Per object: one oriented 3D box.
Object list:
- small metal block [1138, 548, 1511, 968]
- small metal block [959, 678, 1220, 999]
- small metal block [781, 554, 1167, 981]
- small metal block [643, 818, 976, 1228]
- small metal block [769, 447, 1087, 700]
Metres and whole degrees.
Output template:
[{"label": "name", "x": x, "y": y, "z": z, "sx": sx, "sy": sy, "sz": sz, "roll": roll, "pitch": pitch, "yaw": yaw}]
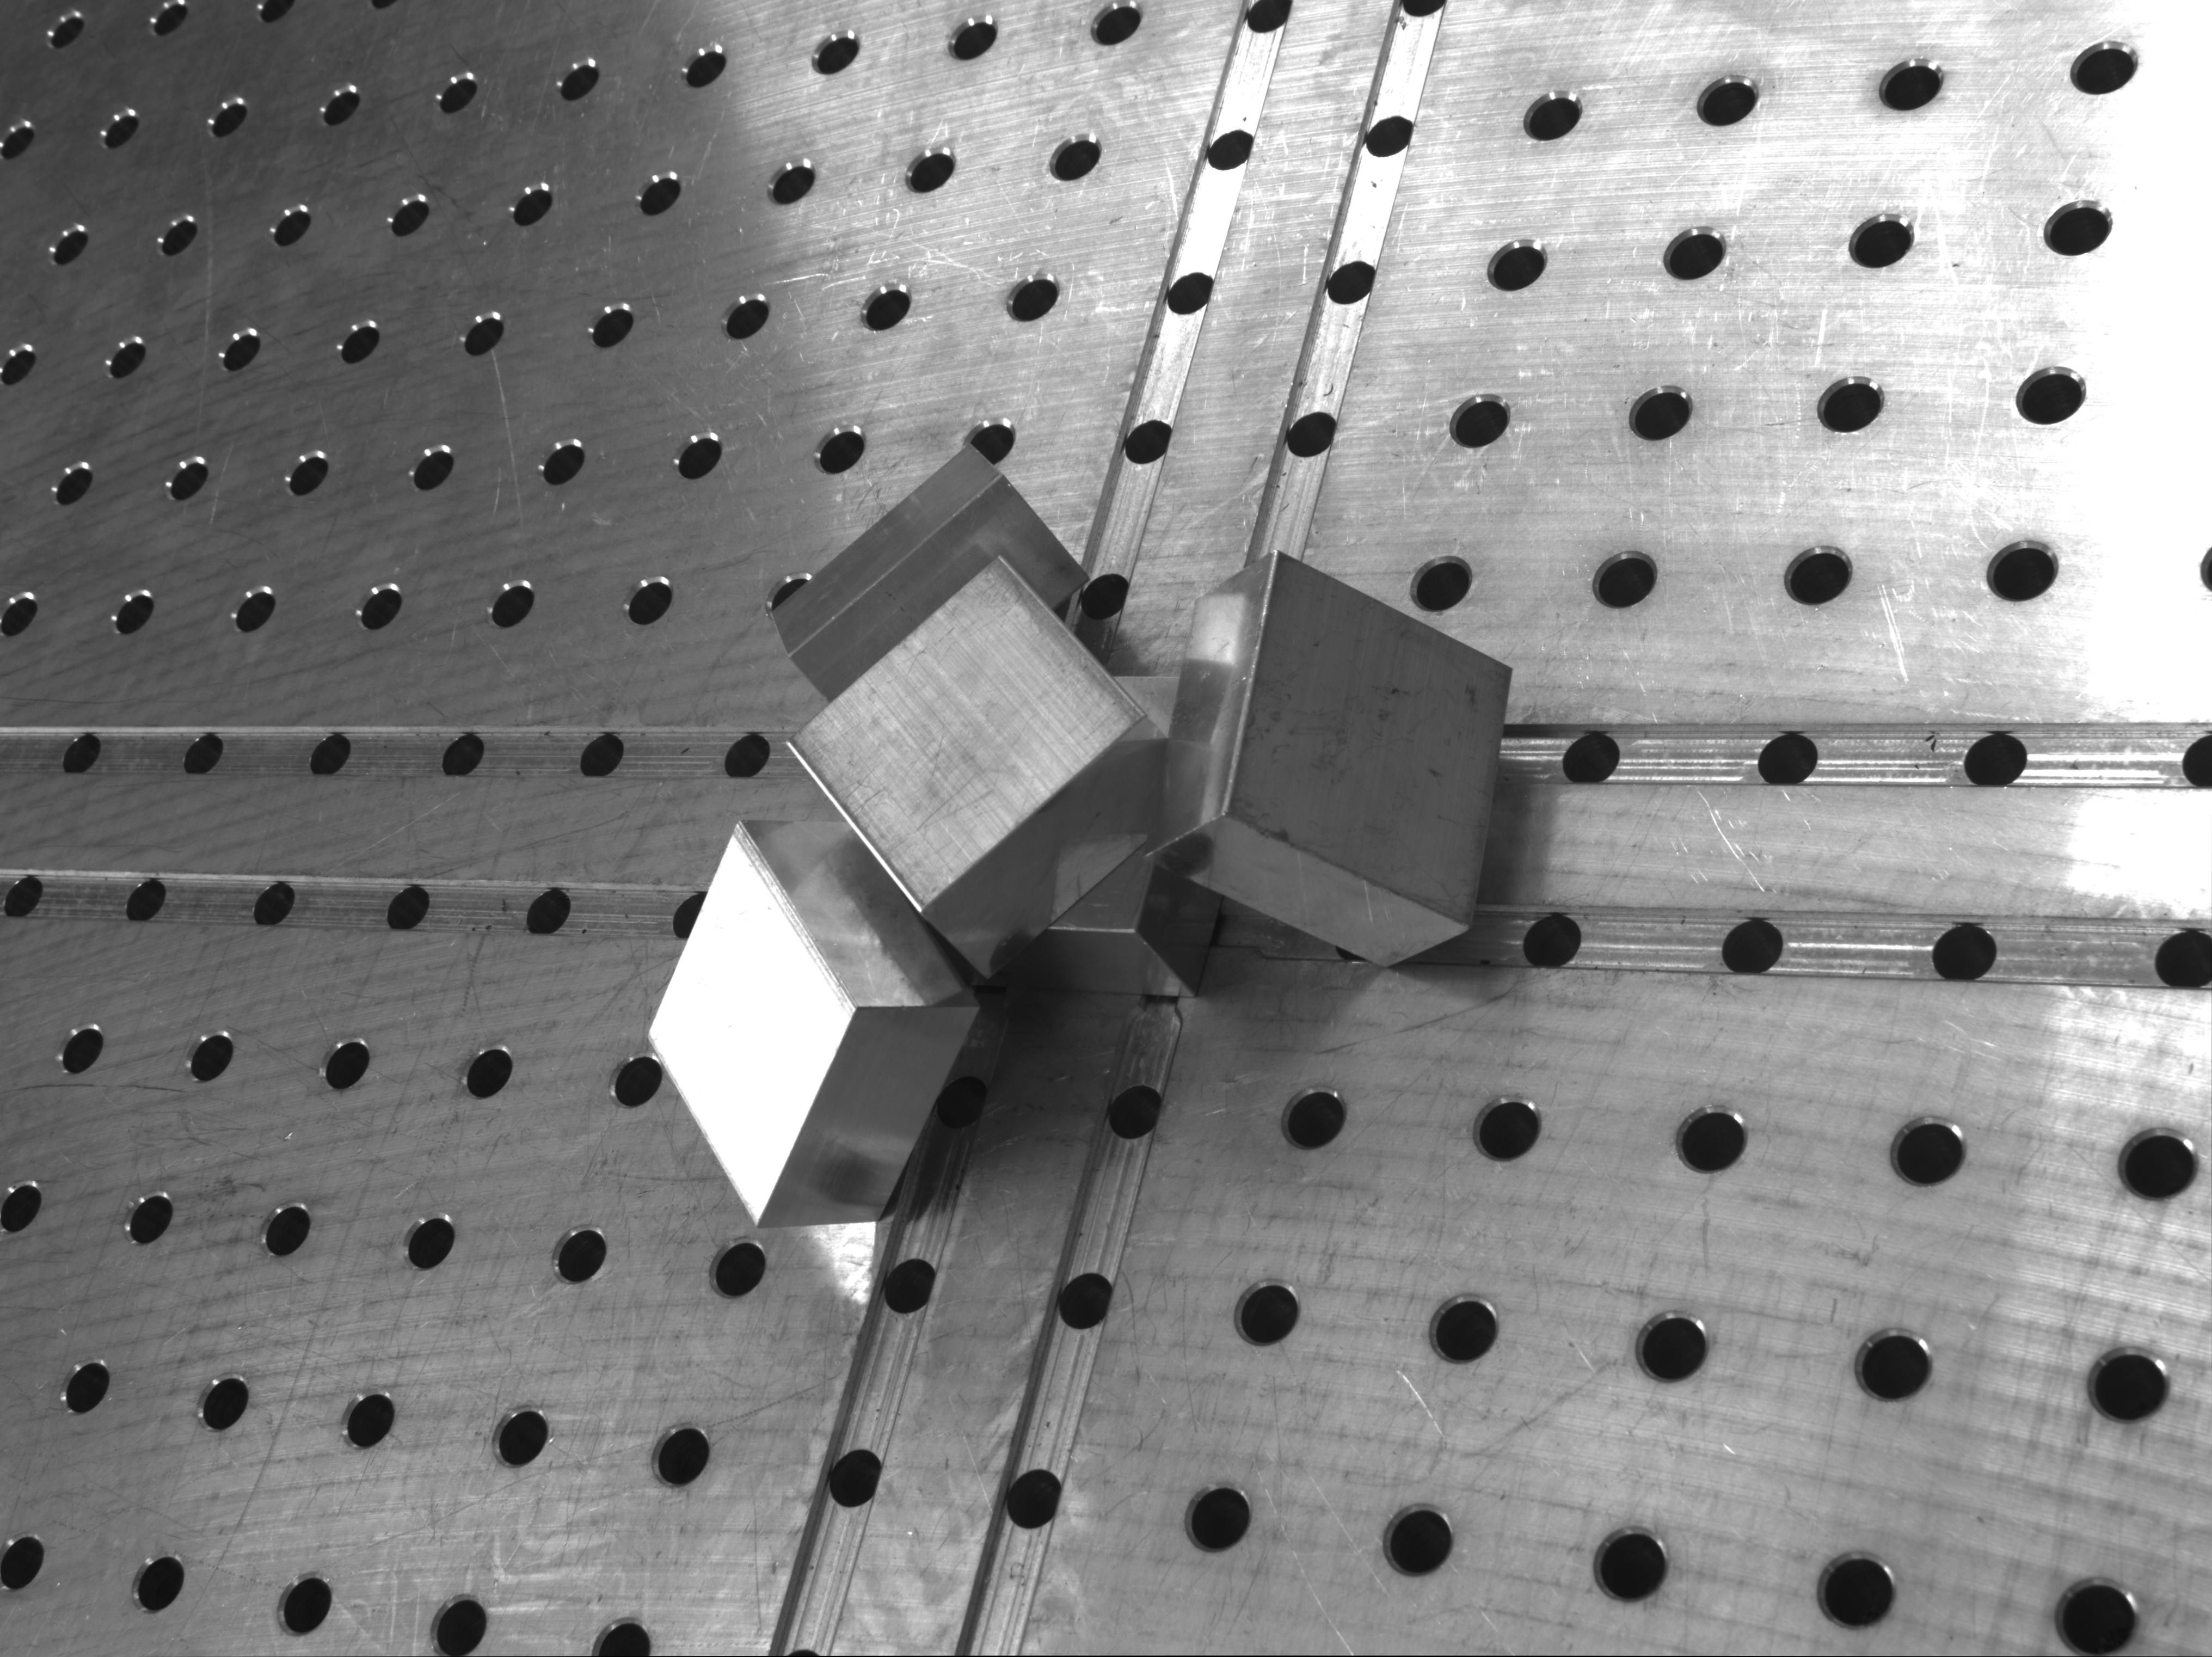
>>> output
[{"label": "small metal block", "x": 0.037, "y": -0.011, "z": 0.616, "sx": 0.025, "sy": 0.050, "sz": 0.050, "roll": -29, "pitch": 42, "yaw": 53}, {"label": "small metal block", "x": -0.005, "y": 0.001, "z": 0.651, "sx": 0.050, "sy": 0.025, "sz": 0.050, "roll": 1, "pitch": 65, "yaw": 29}, {"label": "small metal block", "x": -0.020, "y": -0.011, "z": 0.633, "sx": 0.050, "sy": 0.025, "sz": 0.050, "roll": -41, "pitch": 51, "yaw": 0}, {"label": "small metal block", "x": -0.053, "y": 0.033, "z": 0.640, "sx": 0.050, "sy": 0.025, "sz": 0.050, "roll": 53, "pitch": 130, "yaw": 40}, {"label": "small metal block", "x": -0.034, "y": -0.043, "z": 0.678, "sx": 0.050, "sy": 0.025, "sz": 0.050, "roll": -40, "pitch": 15, "yaw": 1}]
